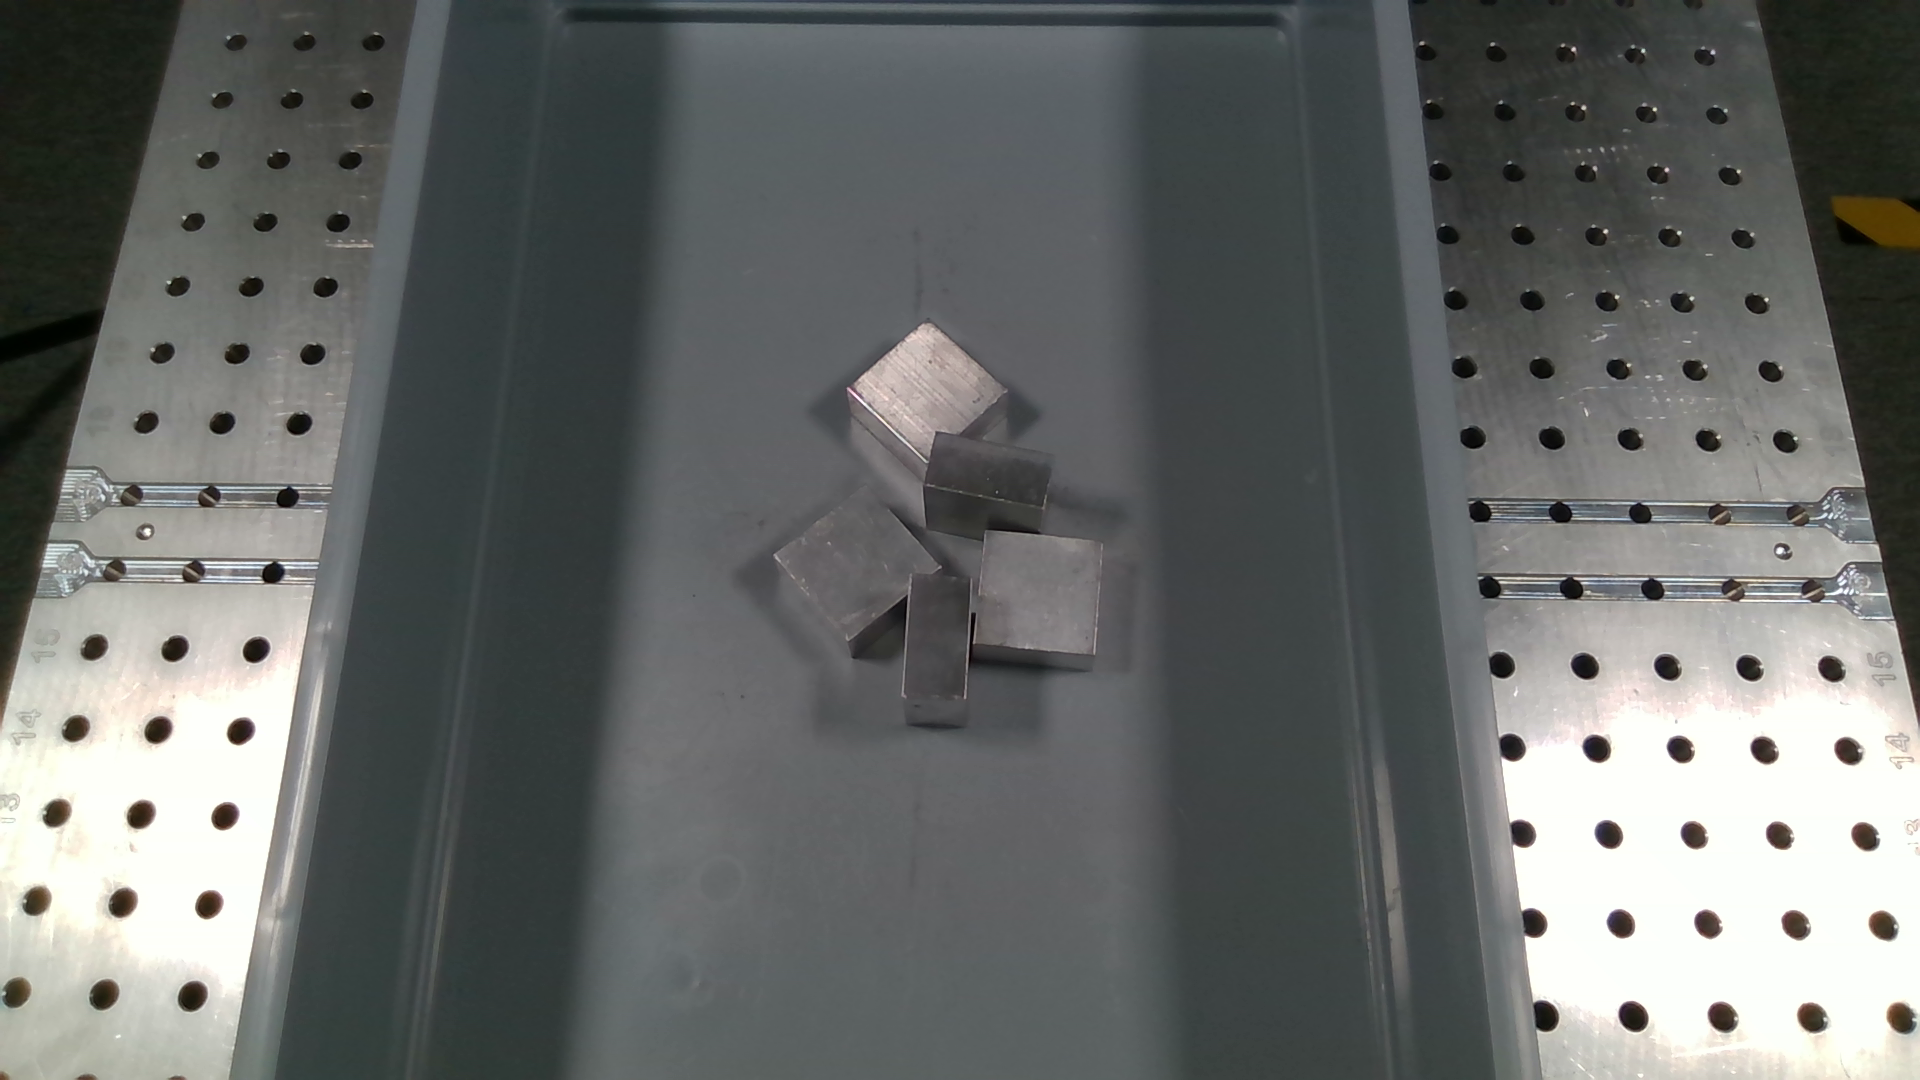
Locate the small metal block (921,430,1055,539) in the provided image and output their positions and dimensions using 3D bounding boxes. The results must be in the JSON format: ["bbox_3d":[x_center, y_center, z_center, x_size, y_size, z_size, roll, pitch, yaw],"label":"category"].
[{"bbox_3d":[0.012,-0.020,0.580,0.050,0.050,0.025,12,71,4],"label":"small metal block"}]

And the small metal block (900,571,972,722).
[{"bbox_3d":[-0.009,0.045,0.557,0.025,0.050,0.050,3,70,1],"label":"small metal block"}]

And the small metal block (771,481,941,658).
[{"bbox_3d":[-0.043,0.013,0.582,0.050,0.025,0.050,-39,75,-13],"label":"small metal block"}]

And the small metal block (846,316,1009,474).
[{"bbox_3d":[-0.014,-0.062,0.609,0.050,0.025,0.050,43,76,14],"label":"small metal block"}]

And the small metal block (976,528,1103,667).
[{"bbox_3d":[0.032,0.025,0.578,0.050,0.025,0.050,6,70,2],"label":"small metal block"}]
